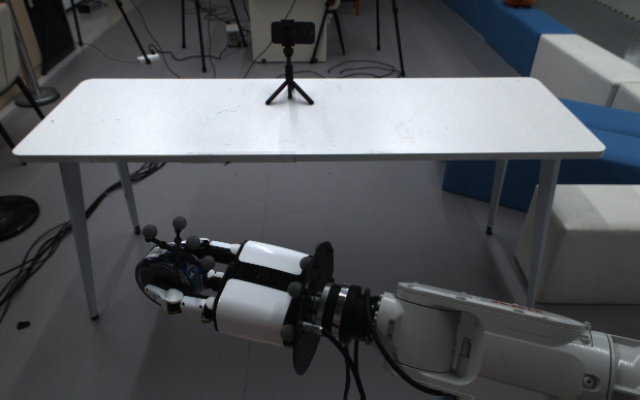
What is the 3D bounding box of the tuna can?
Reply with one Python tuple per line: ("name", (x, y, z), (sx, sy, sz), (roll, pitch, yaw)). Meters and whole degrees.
("tuna can", (-0.188, 0.099, 0.615), (0.085, 0.085, 0.034), (12, 35, 14))
